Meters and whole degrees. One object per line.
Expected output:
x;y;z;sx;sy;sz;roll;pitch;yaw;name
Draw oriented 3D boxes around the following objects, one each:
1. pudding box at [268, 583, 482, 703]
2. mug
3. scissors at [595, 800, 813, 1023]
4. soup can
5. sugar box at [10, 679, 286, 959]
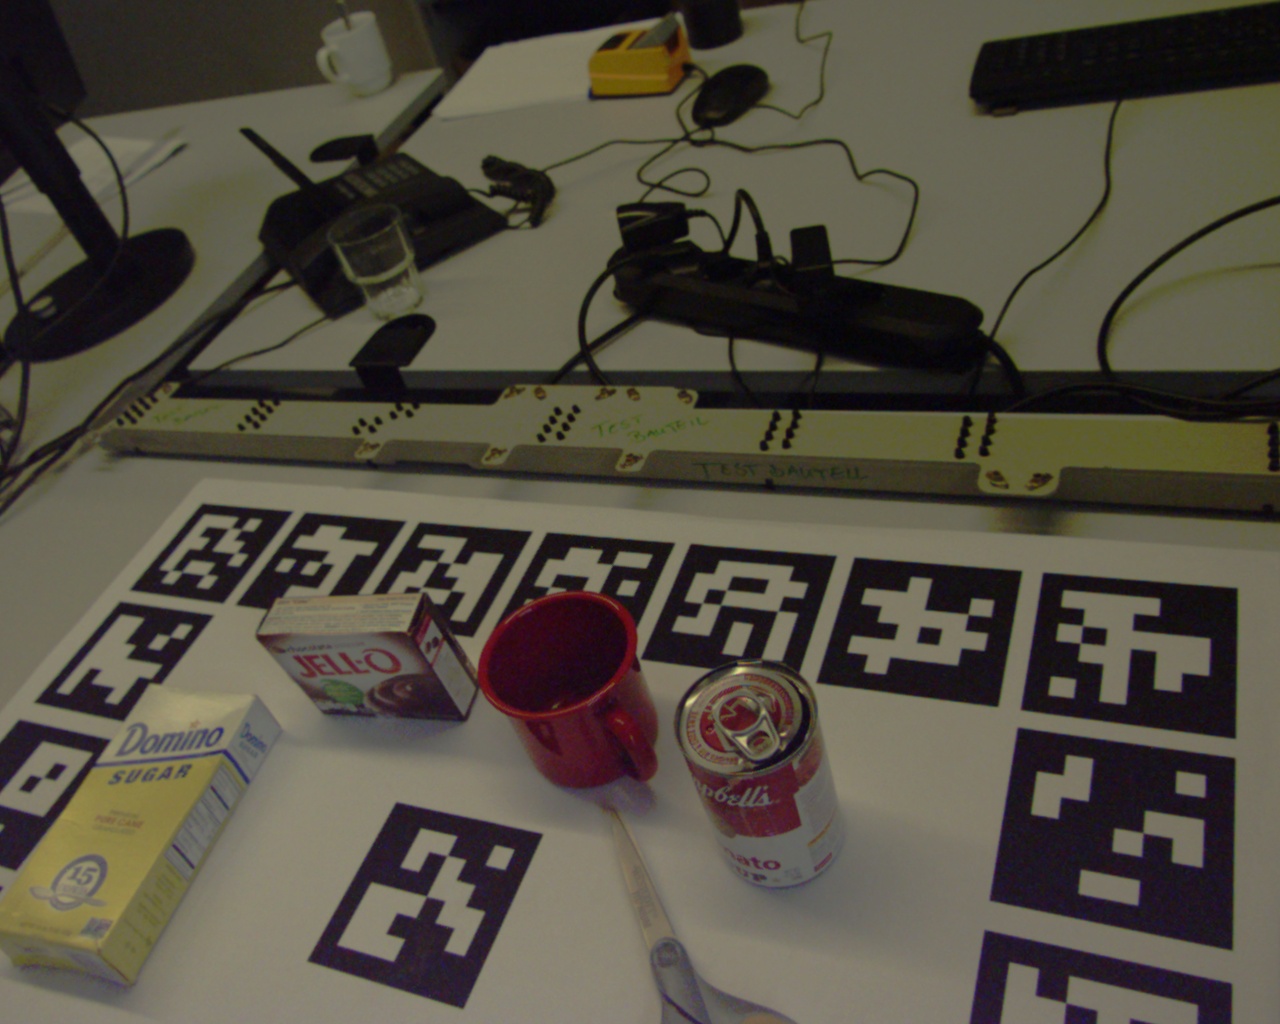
-0.170;0.086;0.744;0.115;0.089;0.039;-4;51;18;pudding box
-0.031;0.099;0.685;0.093;0.081;0.118;-24;40;0;mug
0.018;0.223;0.582;0.088;0.015;0.205;-34;43;1;scissors
0.061;0.132;0.608;0.068;0.101;0.068;-12;41;10;soup can
-0.312;0.192;0.737;0.094;0.045;0.176;-1;47;24;sugar box
